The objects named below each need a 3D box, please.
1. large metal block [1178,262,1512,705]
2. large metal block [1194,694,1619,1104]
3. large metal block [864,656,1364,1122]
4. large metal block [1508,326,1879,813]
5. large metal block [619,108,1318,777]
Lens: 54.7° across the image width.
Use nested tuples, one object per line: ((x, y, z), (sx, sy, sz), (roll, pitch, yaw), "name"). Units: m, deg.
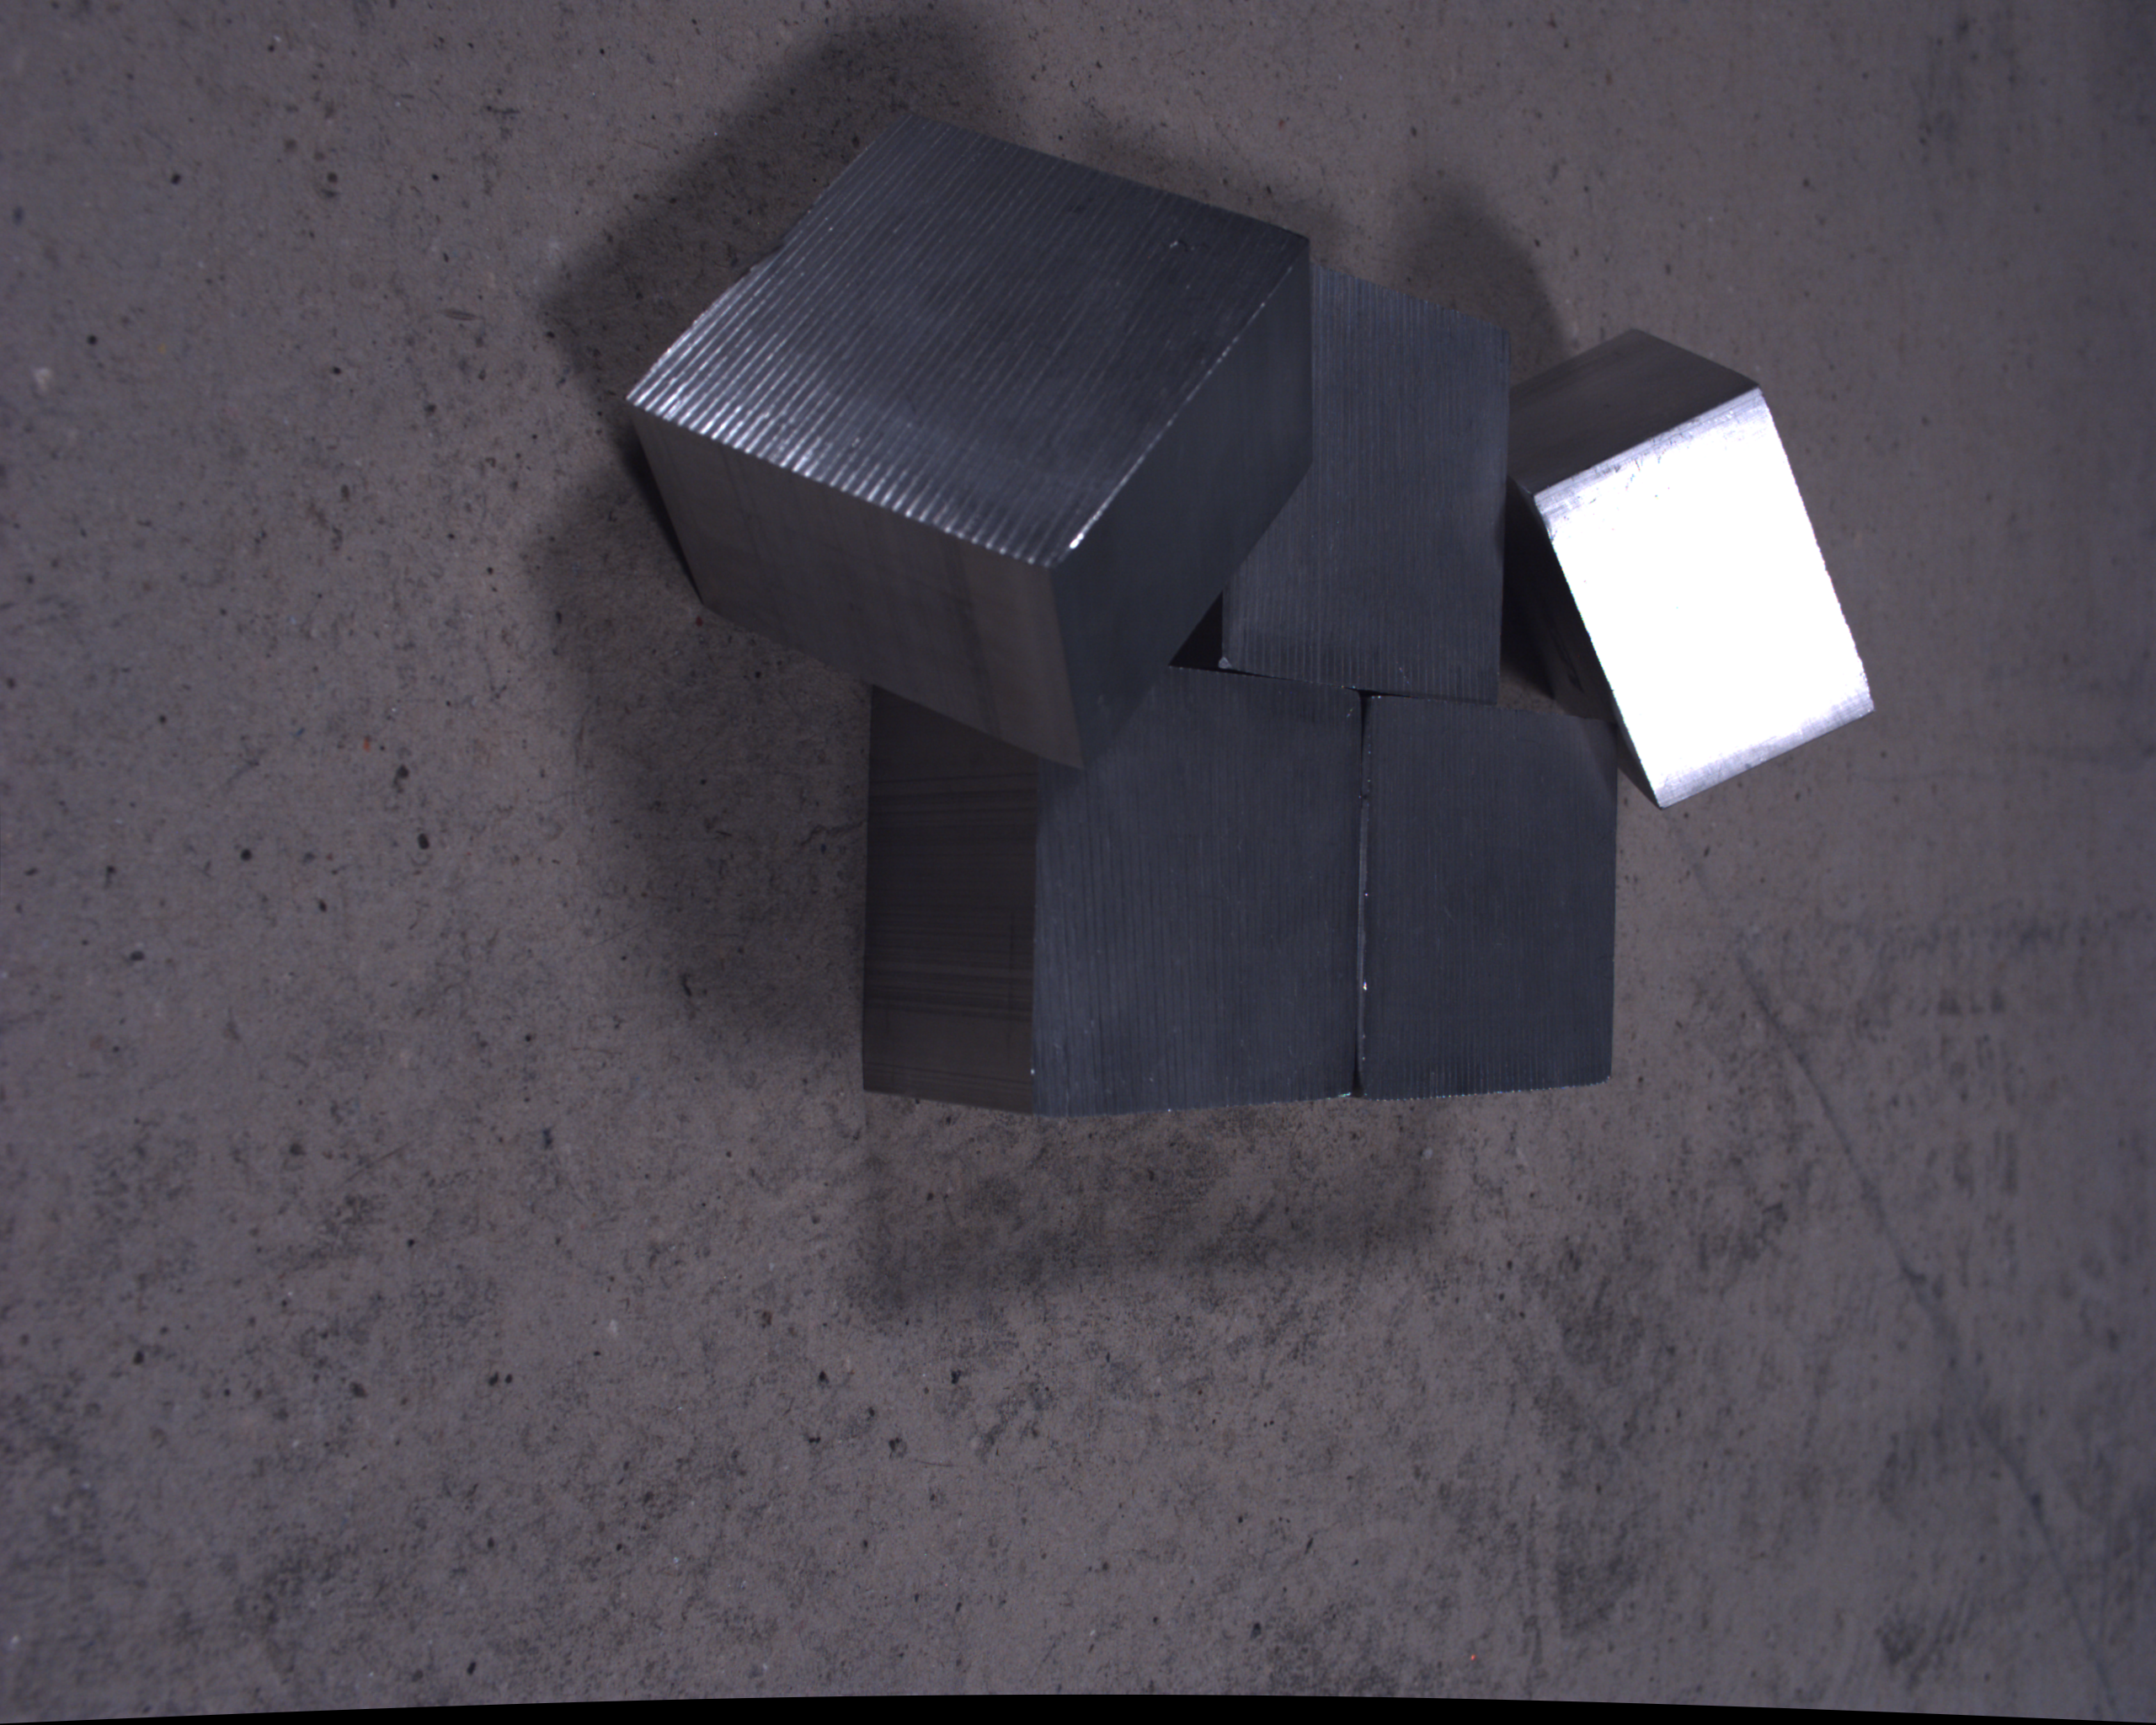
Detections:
((0.042, -0.075, 0.428), (0.081, 0.050, 0.080), (4, 88, -40), "large metal block")
((0.071, 0.008, 0.449), (0.081, 0.050, 0.079), (2, 89, -40), "large metal block")
((0.008, 0.005, 0.398), (0.081, 0.050, 0.079), (2, 89, -40), "large metal block")
((0.129, -0.069, 0.473), (0.050, 0.080, 0.080), (-26, 112, 6), "large metal block")
((-0.014, -0.072, 0.351), (0.080, 0.080, 0.050), (-55, 157, -26), "large metal block")
